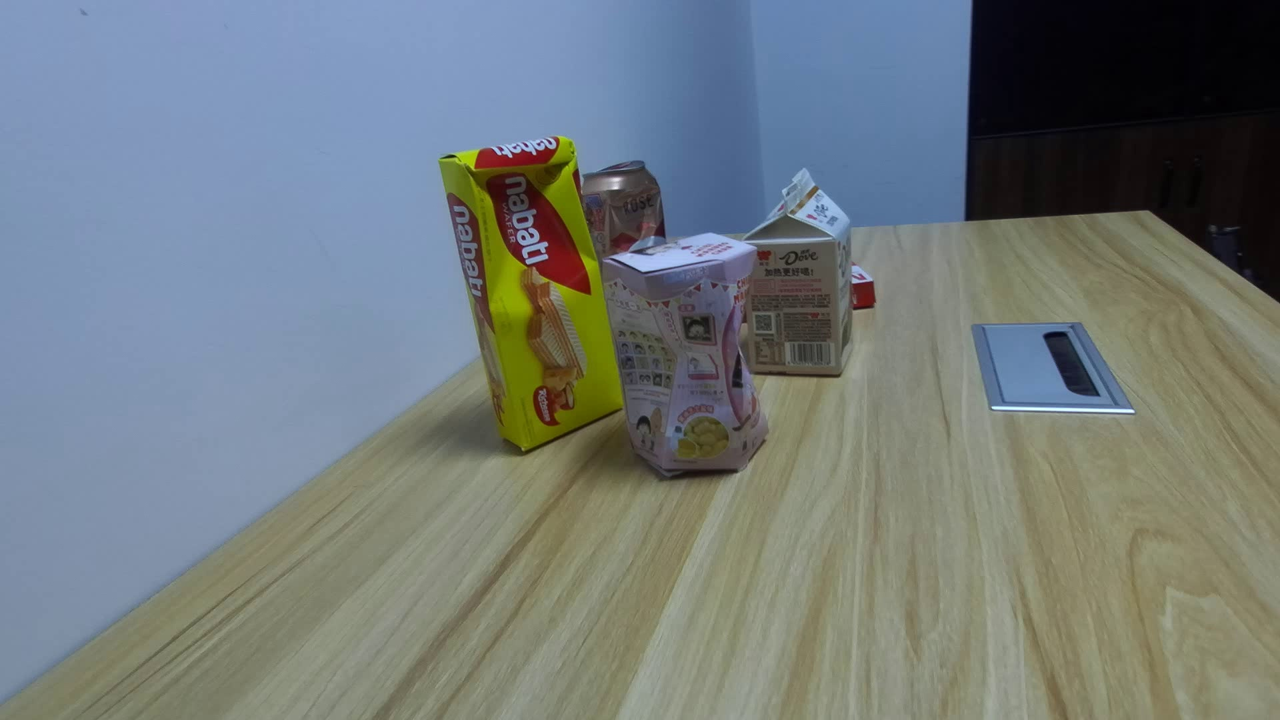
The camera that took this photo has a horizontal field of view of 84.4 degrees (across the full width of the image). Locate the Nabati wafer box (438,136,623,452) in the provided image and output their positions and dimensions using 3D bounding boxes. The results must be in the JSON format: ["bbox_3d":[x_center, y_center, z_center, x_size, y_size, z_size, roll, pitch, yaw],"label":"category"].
[{"bbox_3d":[-0.070,-0.046,0.495,0.097,0.203,0.042,-20,22,-33],"label":"Nabati wafer box"}]

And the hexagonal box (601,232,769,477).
[{"bbox_3d":[0.031,-0.002,0.438,0.093,0.135,0.088,-8,21,-2],"label":"hexagonal box"}]

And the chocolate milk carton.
[{"bbox_3d":[0.126,-0.070,0.555,0.074,0.148,0.075,2,23,23],"label":"chocolate milk carton"}]

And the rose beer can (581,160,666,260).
[{"bbox_3d":[0.004,-0.077,0.606,0.076,0.167,0.065,-16,3,-30],"label":"rose beer can"}]
